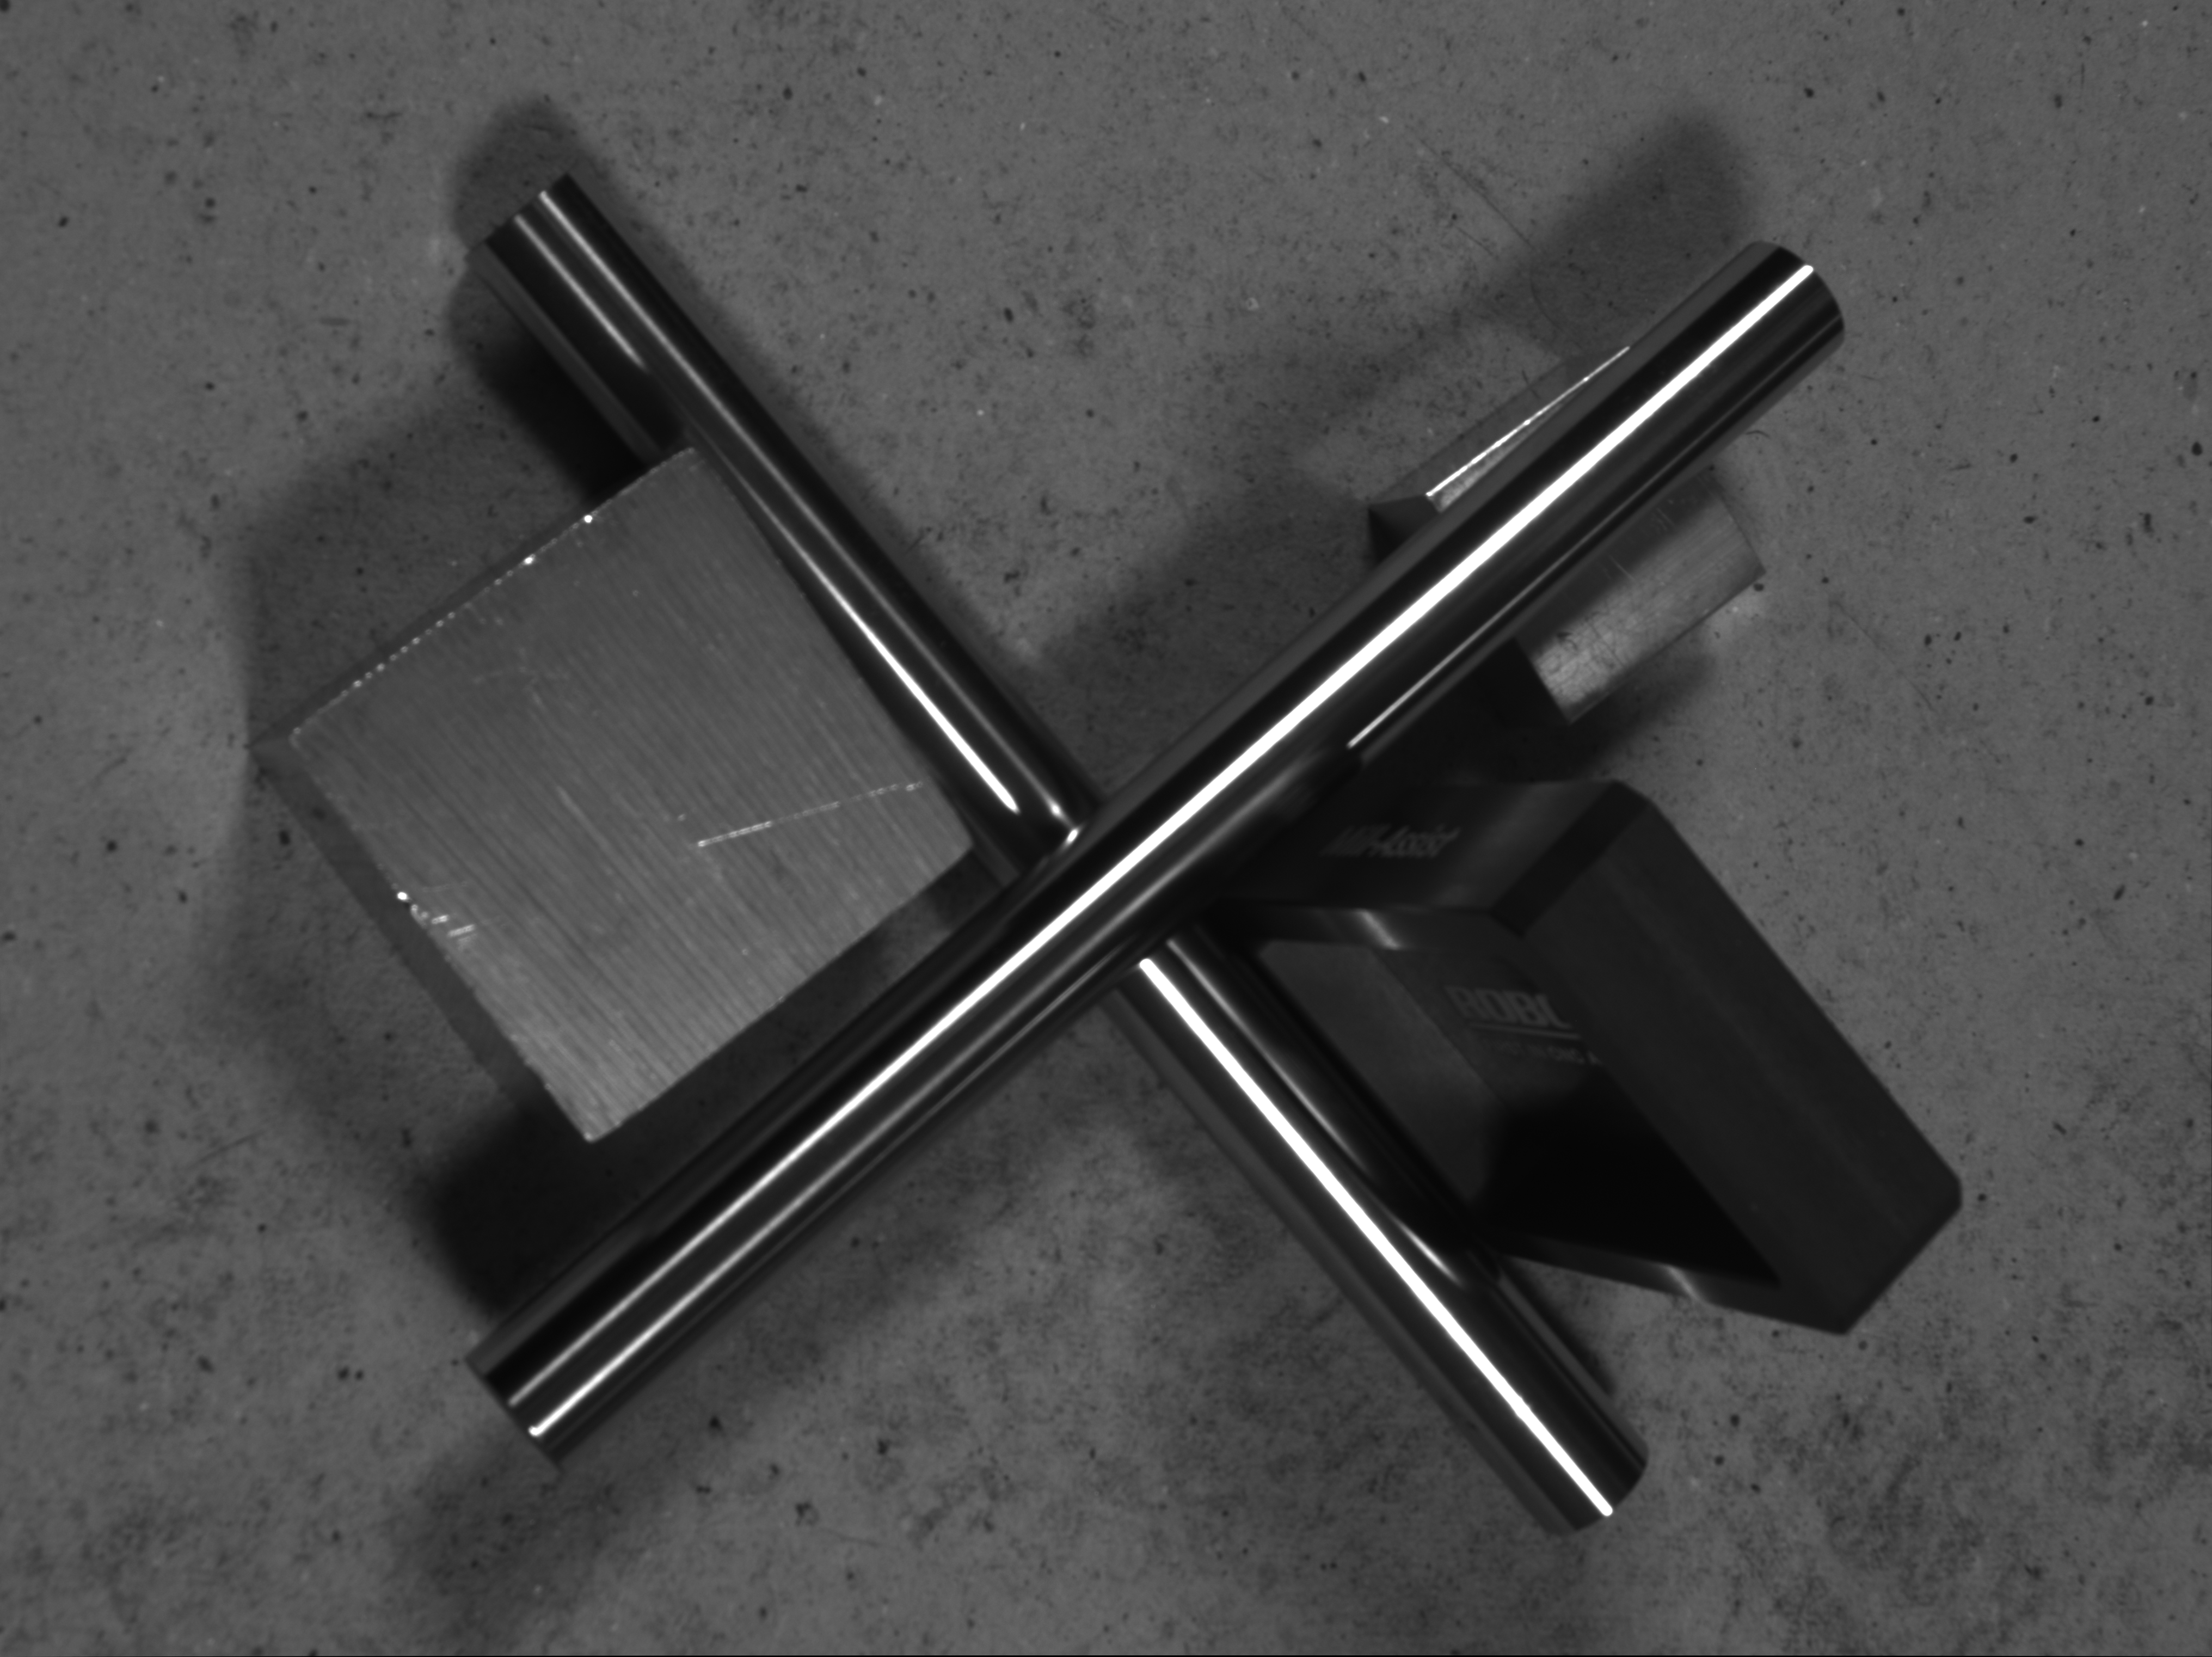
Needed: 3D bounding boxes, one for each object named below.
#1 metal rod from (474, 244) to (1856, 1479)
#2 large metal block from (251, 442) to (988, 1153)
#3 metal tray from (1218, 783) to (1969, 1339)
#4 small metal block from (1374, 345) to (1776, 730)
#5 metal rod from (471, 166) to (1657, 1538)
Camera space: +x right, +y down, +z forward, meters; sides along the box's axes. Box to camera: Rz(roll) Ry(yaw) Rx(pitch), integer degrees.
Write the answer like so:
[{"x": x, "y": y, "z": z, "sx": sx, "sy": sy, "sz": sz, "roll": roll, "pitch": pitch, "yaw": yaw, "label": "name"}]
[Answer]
[{"x": 0.017, "y": -0.001, "z": 0.623, "sx": 0.300, "sy": 0.025, "sz": 0.025, "roll": -41, "pitch": 103, "yaw": -15, "label": "metal rod"}, {"x": -0.080, "y": -0.005, "z": 0.600, "sx": 0.080, "sy": 0.050, "sz": 0.080, "roll": -38, "pitch": 102, "yaw": -16, "label": "large metal block"}, {"x": 0.077, "y": 0.036, "z": 0.615, "sx": 0.030, "sy": 0.130, "sz": 0.090, "roll": -44, "pitch": 103, "yaw": -14, "label": "metal tray"}, {"x": 0.086, "y": -0.053, "z": 0.675, "sx": 0.050, "sy": 0.025, "sz": 0.050, "roll": -37, "pitch": 102, "yaw": -16, "label": "small metal block"}, {"x": -0.002, "y": 0.010, "z": 0.643, "sx": 0.025, "sy": 0.025, "sz": 0.300, "roll": -43, "pitch": 104, "yaw": -15, "label": "metal rod"}]
